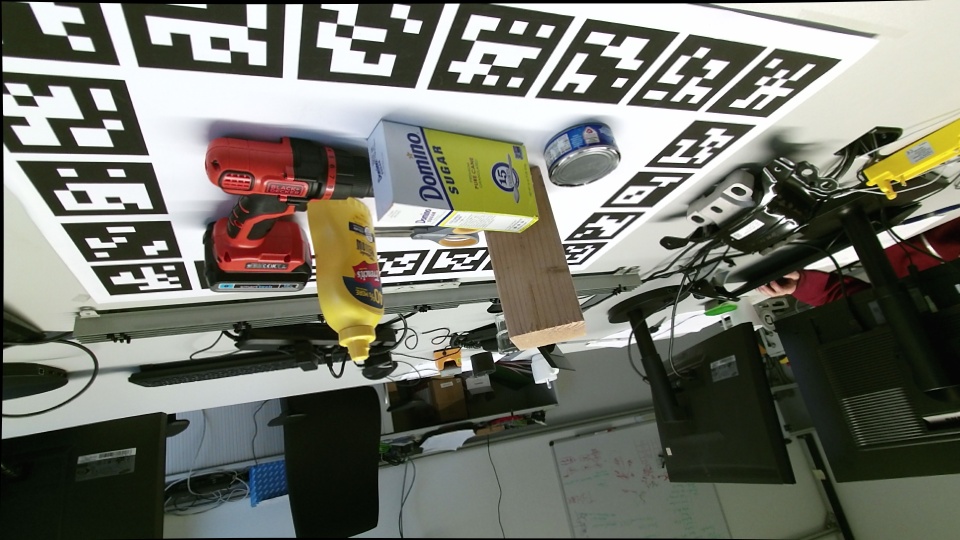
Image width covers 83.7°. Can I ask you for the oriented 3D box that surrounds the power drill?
[{"bbox_3d":[-0.197,-0.055,0.591,0.185,0.057,0.187,2,145,-35],"label":"power drill"}]

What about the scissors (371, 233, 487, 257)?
[{"bbox_3d":[-0.066,-0.036,0.766,0.203,0.016,0.088,-3,159,-25],"label":"scissors"}]

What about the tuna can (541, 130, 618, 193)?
[{"bbox_3d":[0.116,-0.126,0.635,0.086,0.033,0.086,-12,156,-5],"label":"tuna can"}]

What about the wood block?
[{"bbox_3d":[0.060,-0.011,0.682,0.091,0.205,0.090,-16,157,3],"label":"wood block"}]

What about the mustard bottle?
[{"bbox_3d":[-0.156,0.016,0.630,0.058,0.190,0.096,-22,156,14],"label":"mustard bottle"}]

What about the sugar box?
[{"bbox_3d":[-0.033,-0.089,0.568,0.177,0.092,0.045,3,155,-33],"label":"sugar box"}]
